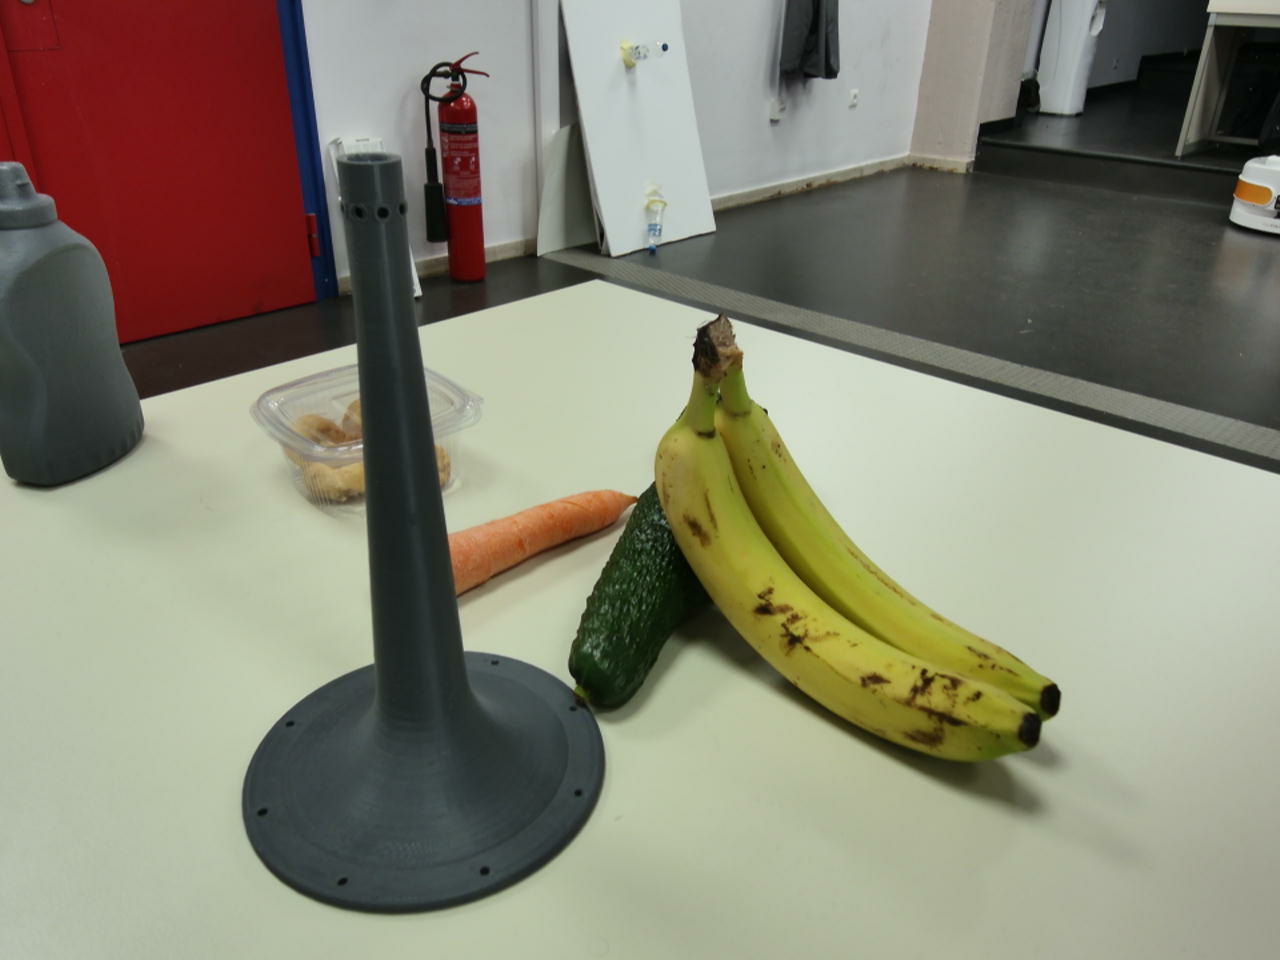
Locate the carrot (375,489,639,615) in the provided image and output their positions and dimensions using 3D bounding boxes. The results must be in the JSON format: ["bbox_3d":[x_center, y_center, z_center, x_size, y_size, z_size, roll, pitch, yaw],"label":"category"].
[{"bbox_3d":[-0.072,0.031,0.602,0.039,0.041,0.196,22,33,37],"label":"carrot"}]
